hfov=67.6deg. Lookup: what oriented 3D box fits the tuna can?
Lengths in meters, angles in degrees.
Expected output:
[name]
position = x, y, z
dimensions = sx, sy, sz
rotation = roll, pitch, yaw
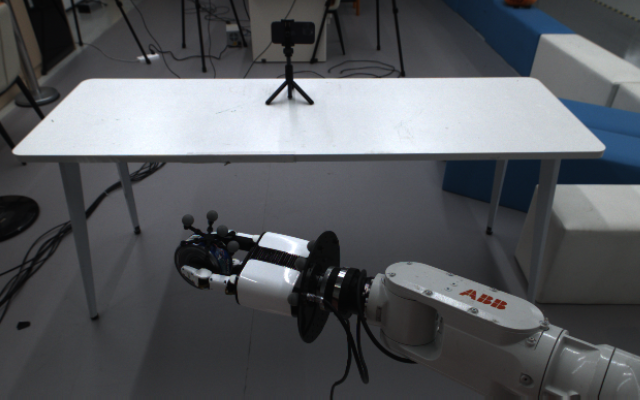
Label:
[tuna can]
position = -0.177, 0.095, 0.737
dimensions = 0.085, 0.085, 0.034
rotation = 15, 30, 18
